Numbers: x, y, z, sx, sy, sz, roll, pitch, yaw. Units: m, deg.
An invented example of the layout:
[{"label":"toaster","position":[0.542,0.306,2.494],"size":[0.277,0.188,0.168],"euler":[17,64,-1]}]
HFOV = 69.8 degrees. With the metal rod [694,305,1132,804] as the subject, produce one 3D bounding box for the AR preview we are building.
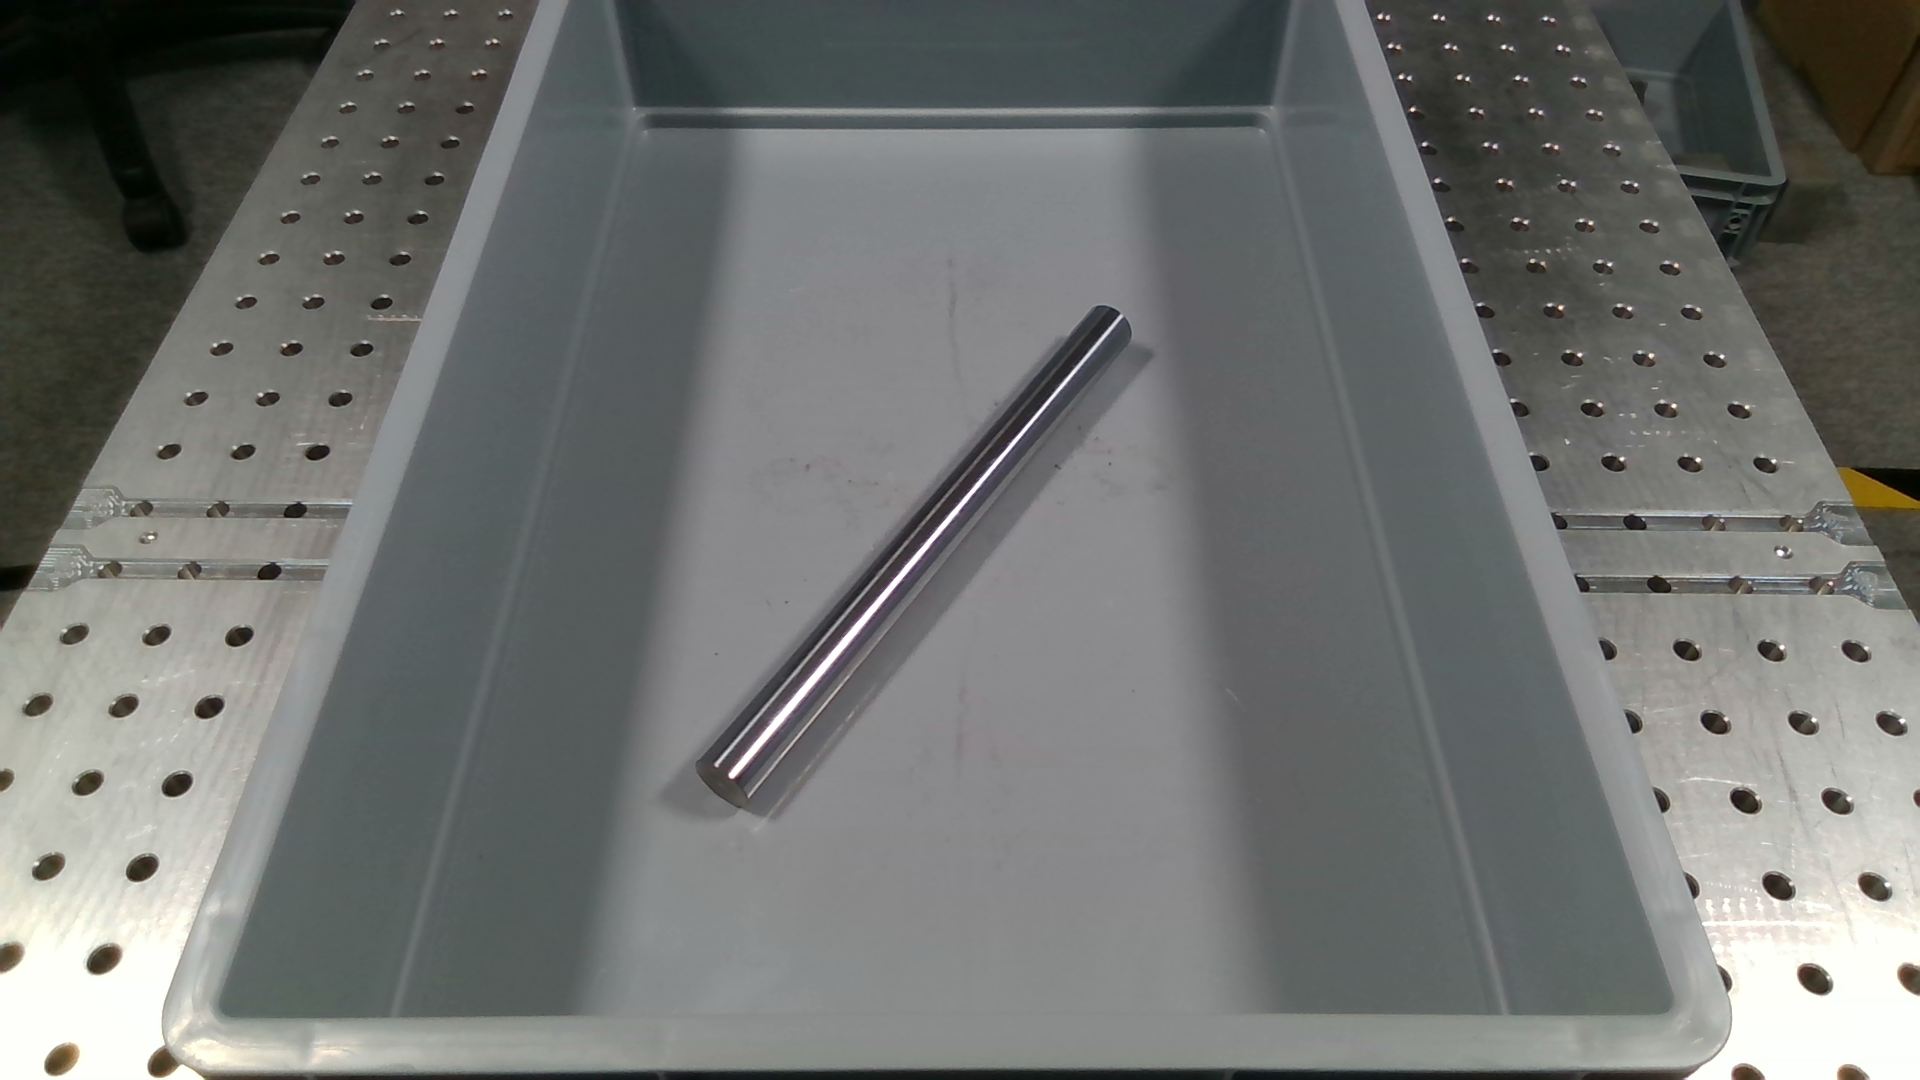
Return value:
[{"label":"metal rod","position":[-0.008,-0.007,0.591],"size":[0.025,0.025,0.299],"euler":[26,55,20]}]
